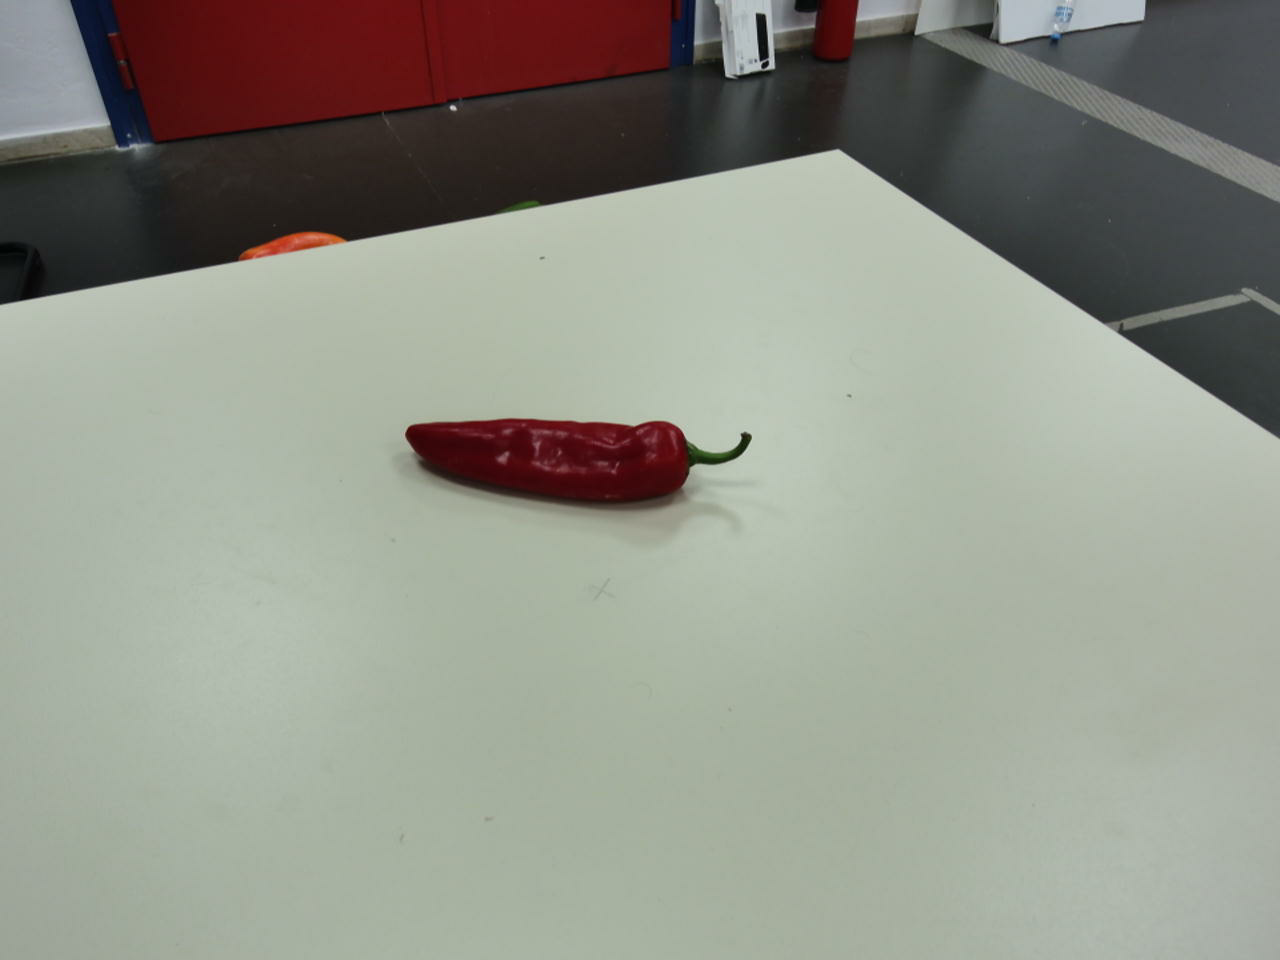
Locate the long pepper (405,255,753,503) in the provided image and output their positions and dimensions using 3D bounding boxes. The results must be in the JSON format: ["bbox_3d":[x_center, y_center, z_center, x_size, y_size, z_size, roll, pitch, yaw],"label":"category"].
[{"bbox_3d":[-0.041,-0.016,0.591,0.211,0.043,0.050,5,39,6],"label":"long pepper"}]
